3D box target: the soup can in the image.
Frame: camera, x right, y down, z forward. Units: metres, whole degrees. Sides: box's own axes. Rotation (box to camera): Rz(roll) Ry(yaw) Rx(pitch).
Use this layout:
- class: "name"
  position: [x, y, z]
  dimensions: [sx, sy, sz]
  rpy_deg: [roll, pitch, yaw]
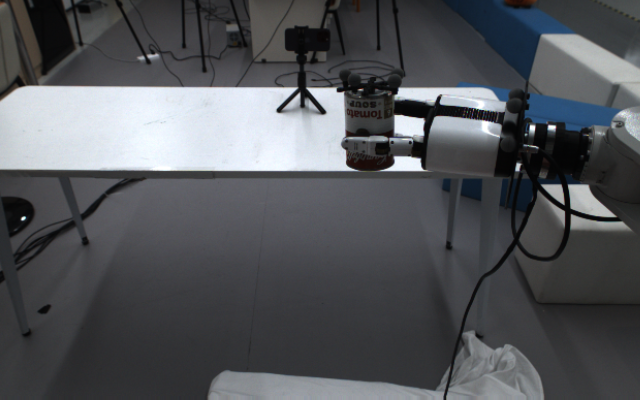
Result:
- class: "soup can"
  position: [0.068, -0.100, 0.654]
  dimensions: [0.067, 0.101, 0.067]
  rpy_deg: [-3, 27, 2]
